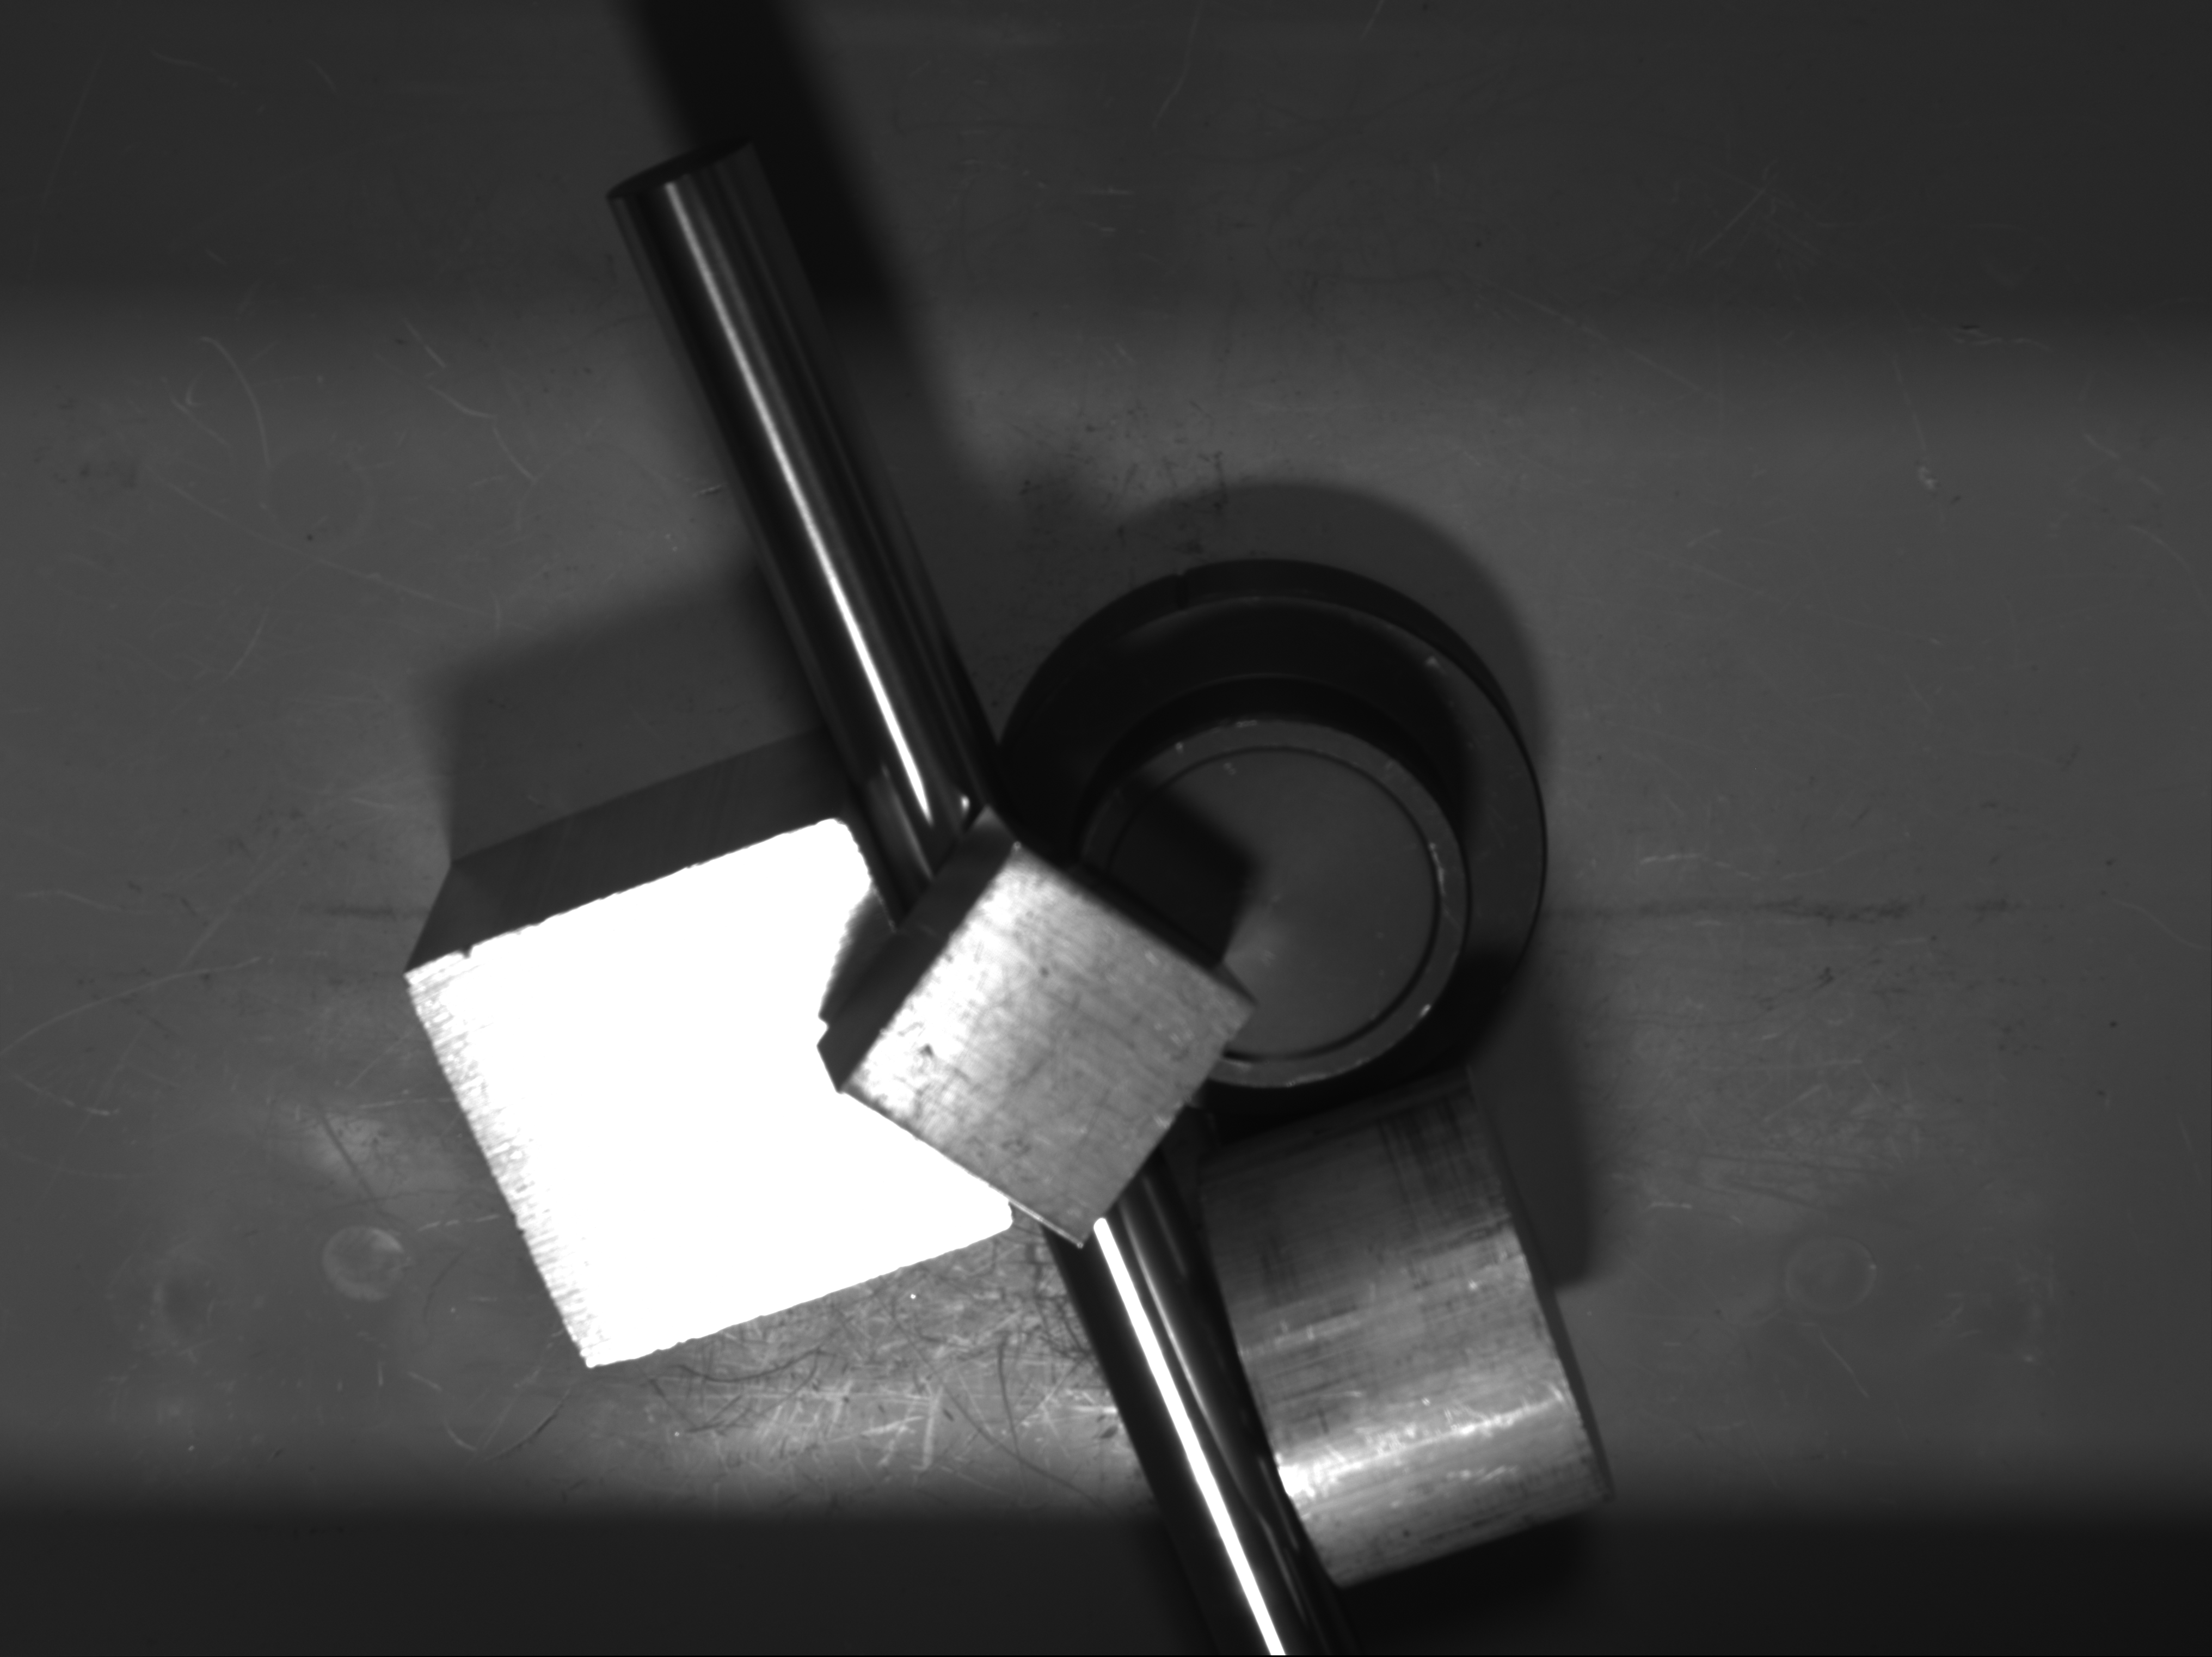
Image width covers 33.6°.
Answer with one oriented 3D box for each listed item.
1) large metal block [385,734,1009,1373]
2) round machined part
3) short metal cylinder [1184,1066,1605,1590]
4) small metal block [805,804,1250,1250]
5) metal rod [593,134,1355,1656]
[{"bbox_3d":[-0.068,0.037,0.639,0.080,0.050,0.080,-19,109,6],"label":"large metal block"},{"bbox_3d":[0.026,0.006,0.635,0.098,0.042,0.098,0,110,-1],"label":"round machined part"},{"bbox_3d":[0.051,0.088,0.645,0.050,0.080,0.080,-19,109,6],"label":"short metal cylinder"},{"bbox_3d":[-0.013,0.033,0.602,0.050,0.025,0.050,34,95,-19],"label":"small metal block"},{"bbox_3d":[-0.017,0.027,0.629,0.025,0.025,0.300,-19,109,6],"label":"metal rod"}]
